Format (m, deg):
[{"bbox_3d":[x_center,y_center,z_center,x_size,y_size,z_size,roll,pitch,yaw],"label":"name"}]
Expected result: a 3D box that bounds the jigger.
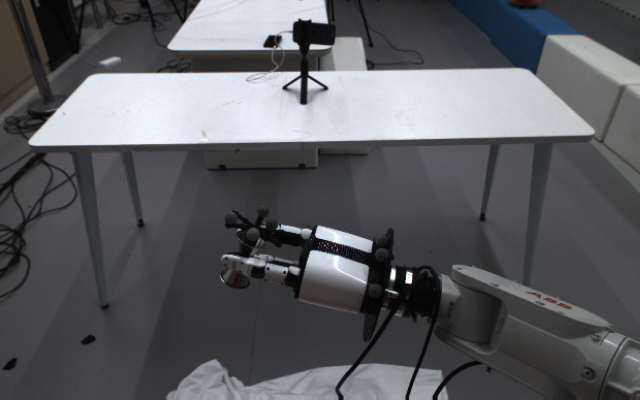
[{"bbox_3d":[-0.106,0.081,0.664,0.043,0.071,0.043,23,19,-8],"label":"jigger"}]
